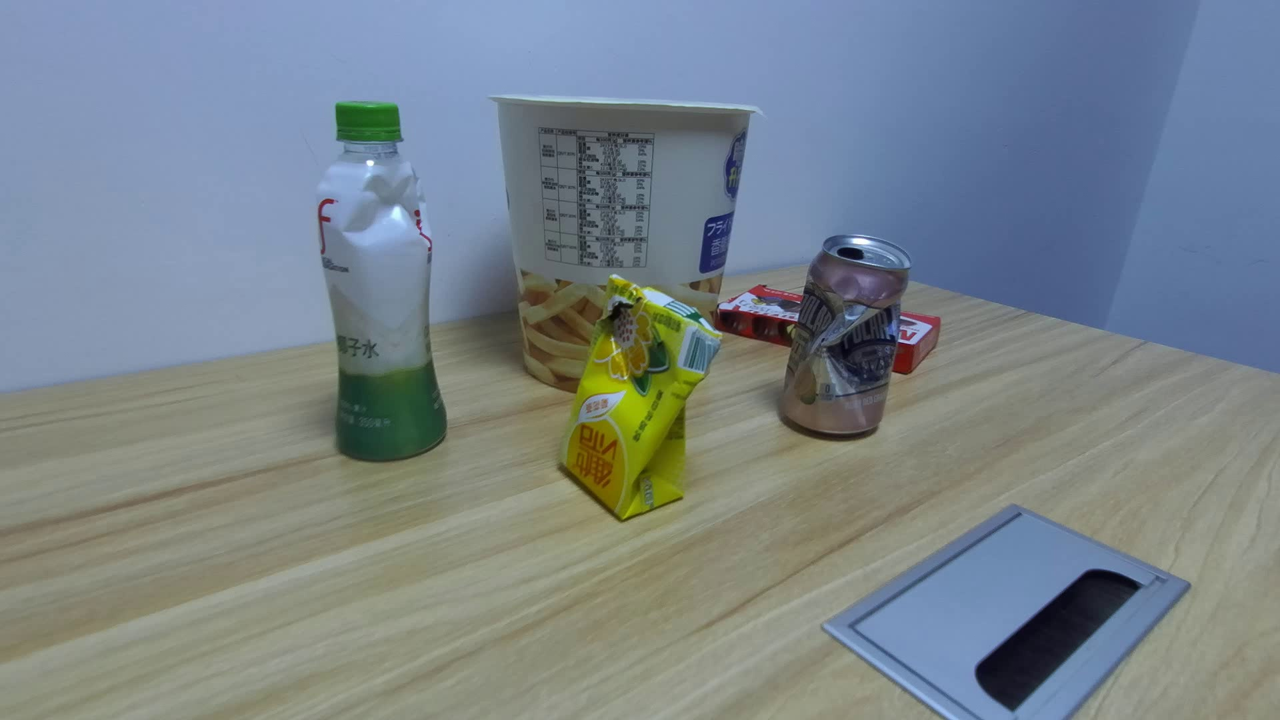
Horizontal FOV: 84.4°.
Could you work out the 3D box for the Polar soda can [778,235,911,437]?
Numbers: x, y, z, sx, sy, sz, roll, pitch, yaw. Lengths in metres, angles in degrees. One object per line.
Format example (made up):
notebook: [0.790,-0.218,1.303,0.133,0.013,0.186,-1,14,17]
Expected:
Polar soda can: [0.133,-0.012,0.447,0.066,0.121,0.071,10,23,5]

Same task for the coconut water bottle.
coconut water bottle: [-0.142,-0.042,0.387,0.069,0.186,0.069,3,22,-1]

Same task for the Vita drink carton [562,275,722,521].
Vita drink carton: [0.001,0.018,0.370,0.042,0.108,0.086,5,18,-39]

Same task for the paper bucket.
paper bucket: [-0.013,-0.090,0.524,0.198,0.194,0.198,2,21,0]

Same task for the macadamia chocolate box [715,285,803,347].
macadamia chocolate box: [0.166,-0.033,0.633,0.182,0.028,0.106,15,24,30]
